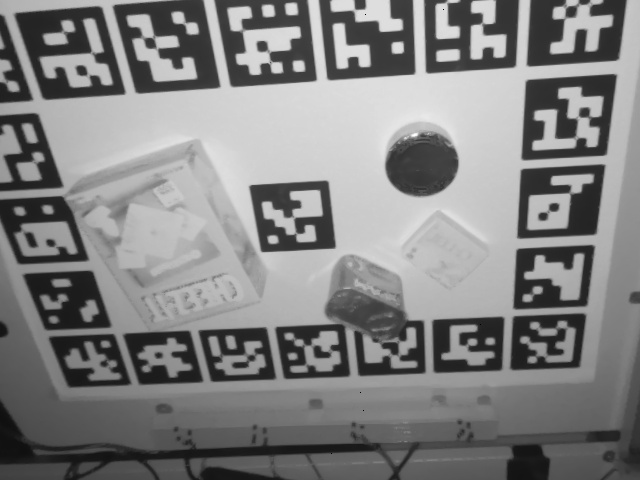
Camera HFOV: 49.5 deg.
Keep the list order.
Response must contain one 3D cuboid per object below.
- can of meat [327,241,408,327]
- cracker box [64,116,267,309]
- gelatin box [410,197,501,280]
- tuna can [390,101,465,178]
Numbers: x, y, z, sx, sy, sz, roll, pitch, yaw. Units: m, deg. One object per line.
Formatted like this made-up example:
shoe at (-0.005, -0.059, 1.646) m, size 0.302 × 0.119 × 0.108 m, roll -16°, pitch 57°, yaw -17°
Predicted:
can of meat at (0.063, 0.054, 0.898) m, size 0.102 × 0.084 × 0.057 m, roll 23°, pitch 121°, yaw -11°
cracker box at (-0.187, -0.027, 0.869) m, size 0.163 × 0.072 × 0.213 m, roll -17°, pitch 120°, yaw 15°
gelatin box at (0.172, 0.000, 0.881) m, size 0.090 × 0.030 × 0.072 m, roll 35°, pitch 120°, yaw -13°
tuna can at (0.124, -0.118, 0.808) m, size 0.086 × 0.034 × 0.085 m, roll 1°, pitch 118°, yaw 2°
